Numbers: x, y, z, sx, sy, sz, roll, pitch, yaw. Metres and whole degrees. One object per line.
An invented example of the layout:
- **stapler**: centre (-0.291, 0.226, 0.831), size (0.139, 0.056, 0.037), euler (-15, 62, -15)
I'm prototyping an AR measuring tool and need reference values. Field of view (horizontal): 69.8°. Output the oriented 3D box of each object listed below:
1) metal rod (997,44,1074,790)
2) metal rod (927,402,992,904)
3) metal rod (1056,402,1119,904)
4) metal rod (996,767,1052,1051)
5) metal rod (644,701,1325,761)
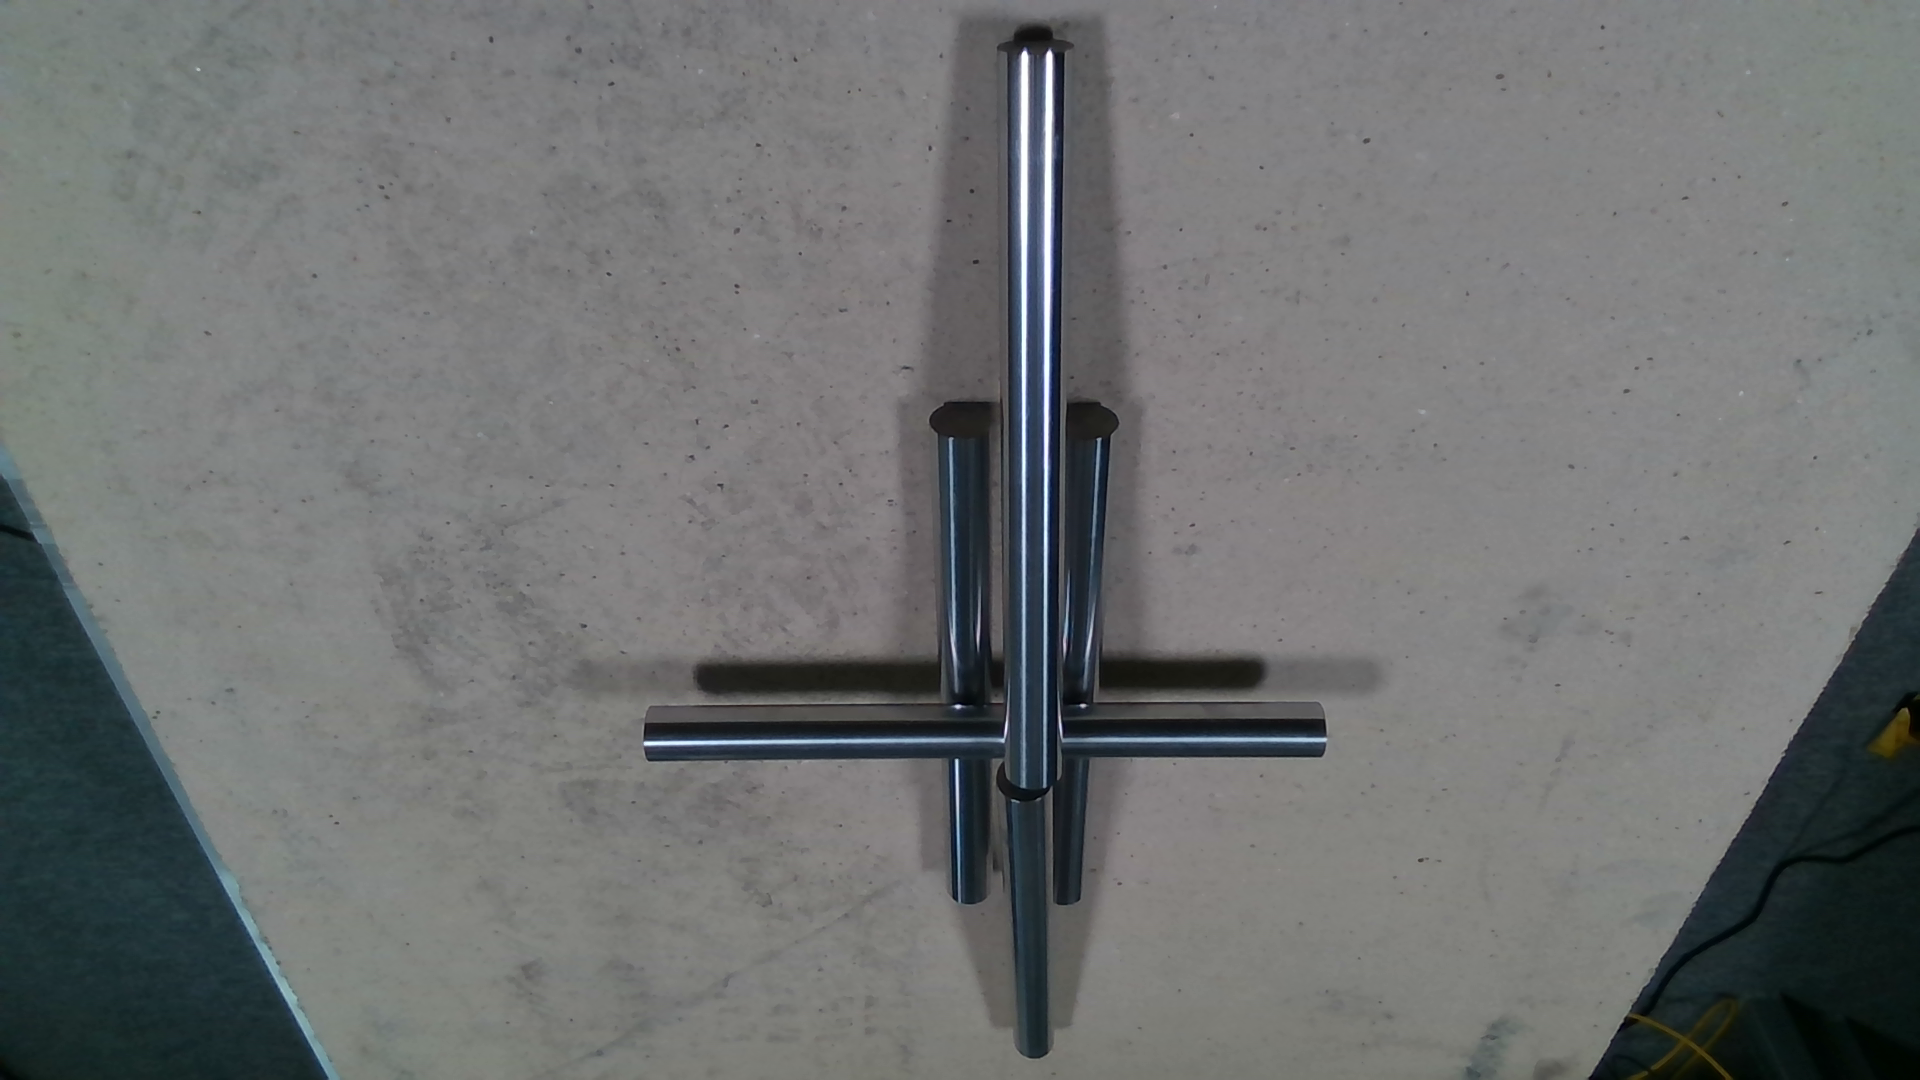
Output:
- **metal rod**: centre (0.028, -0.029, 0.522), size (0.025, 0.025, 0.301), euler (-1, 121, 1)
- **metal rod**: centre (0.002, 0.068, 0.636), size (0.025, 0.025, 0.301), euler (-1, 130, 1)
- **metal rod**: centre (0.052, 0.068, 0.636), size (0.025, 0.025, 0.301), euler (-1, 130, 1)
- **metal rod**: centre (0.036, 0.200, 0.715), size (0.025, 0.025, 0.301), euler (-2, 140, 2)
- **metal rod**: centre (0.011, 0.086, 0.619), size (0.300, 0.025, 0.025), euler (0, 130, 0)
